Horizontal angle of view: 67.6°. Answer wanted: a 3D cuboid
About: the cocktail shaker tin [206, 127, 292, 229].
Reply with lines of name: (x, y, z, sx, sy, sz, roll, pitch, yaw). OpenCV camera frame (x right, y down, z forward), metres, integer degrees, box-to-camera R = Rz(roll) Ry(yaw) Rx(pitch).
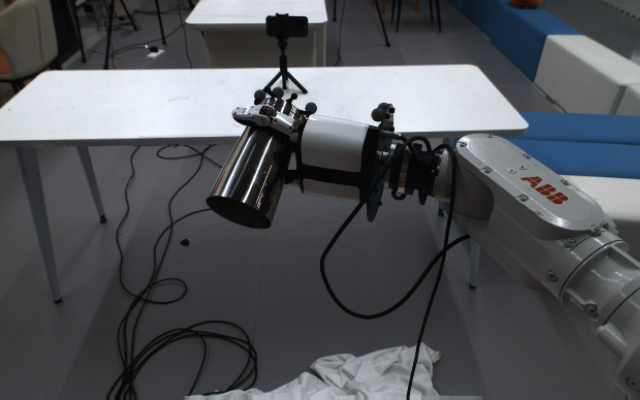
cocktail shaker tin: (-0.080, -0.059, 0.672, 0.093, 0.093, 0.170, 13, 66, 15)
